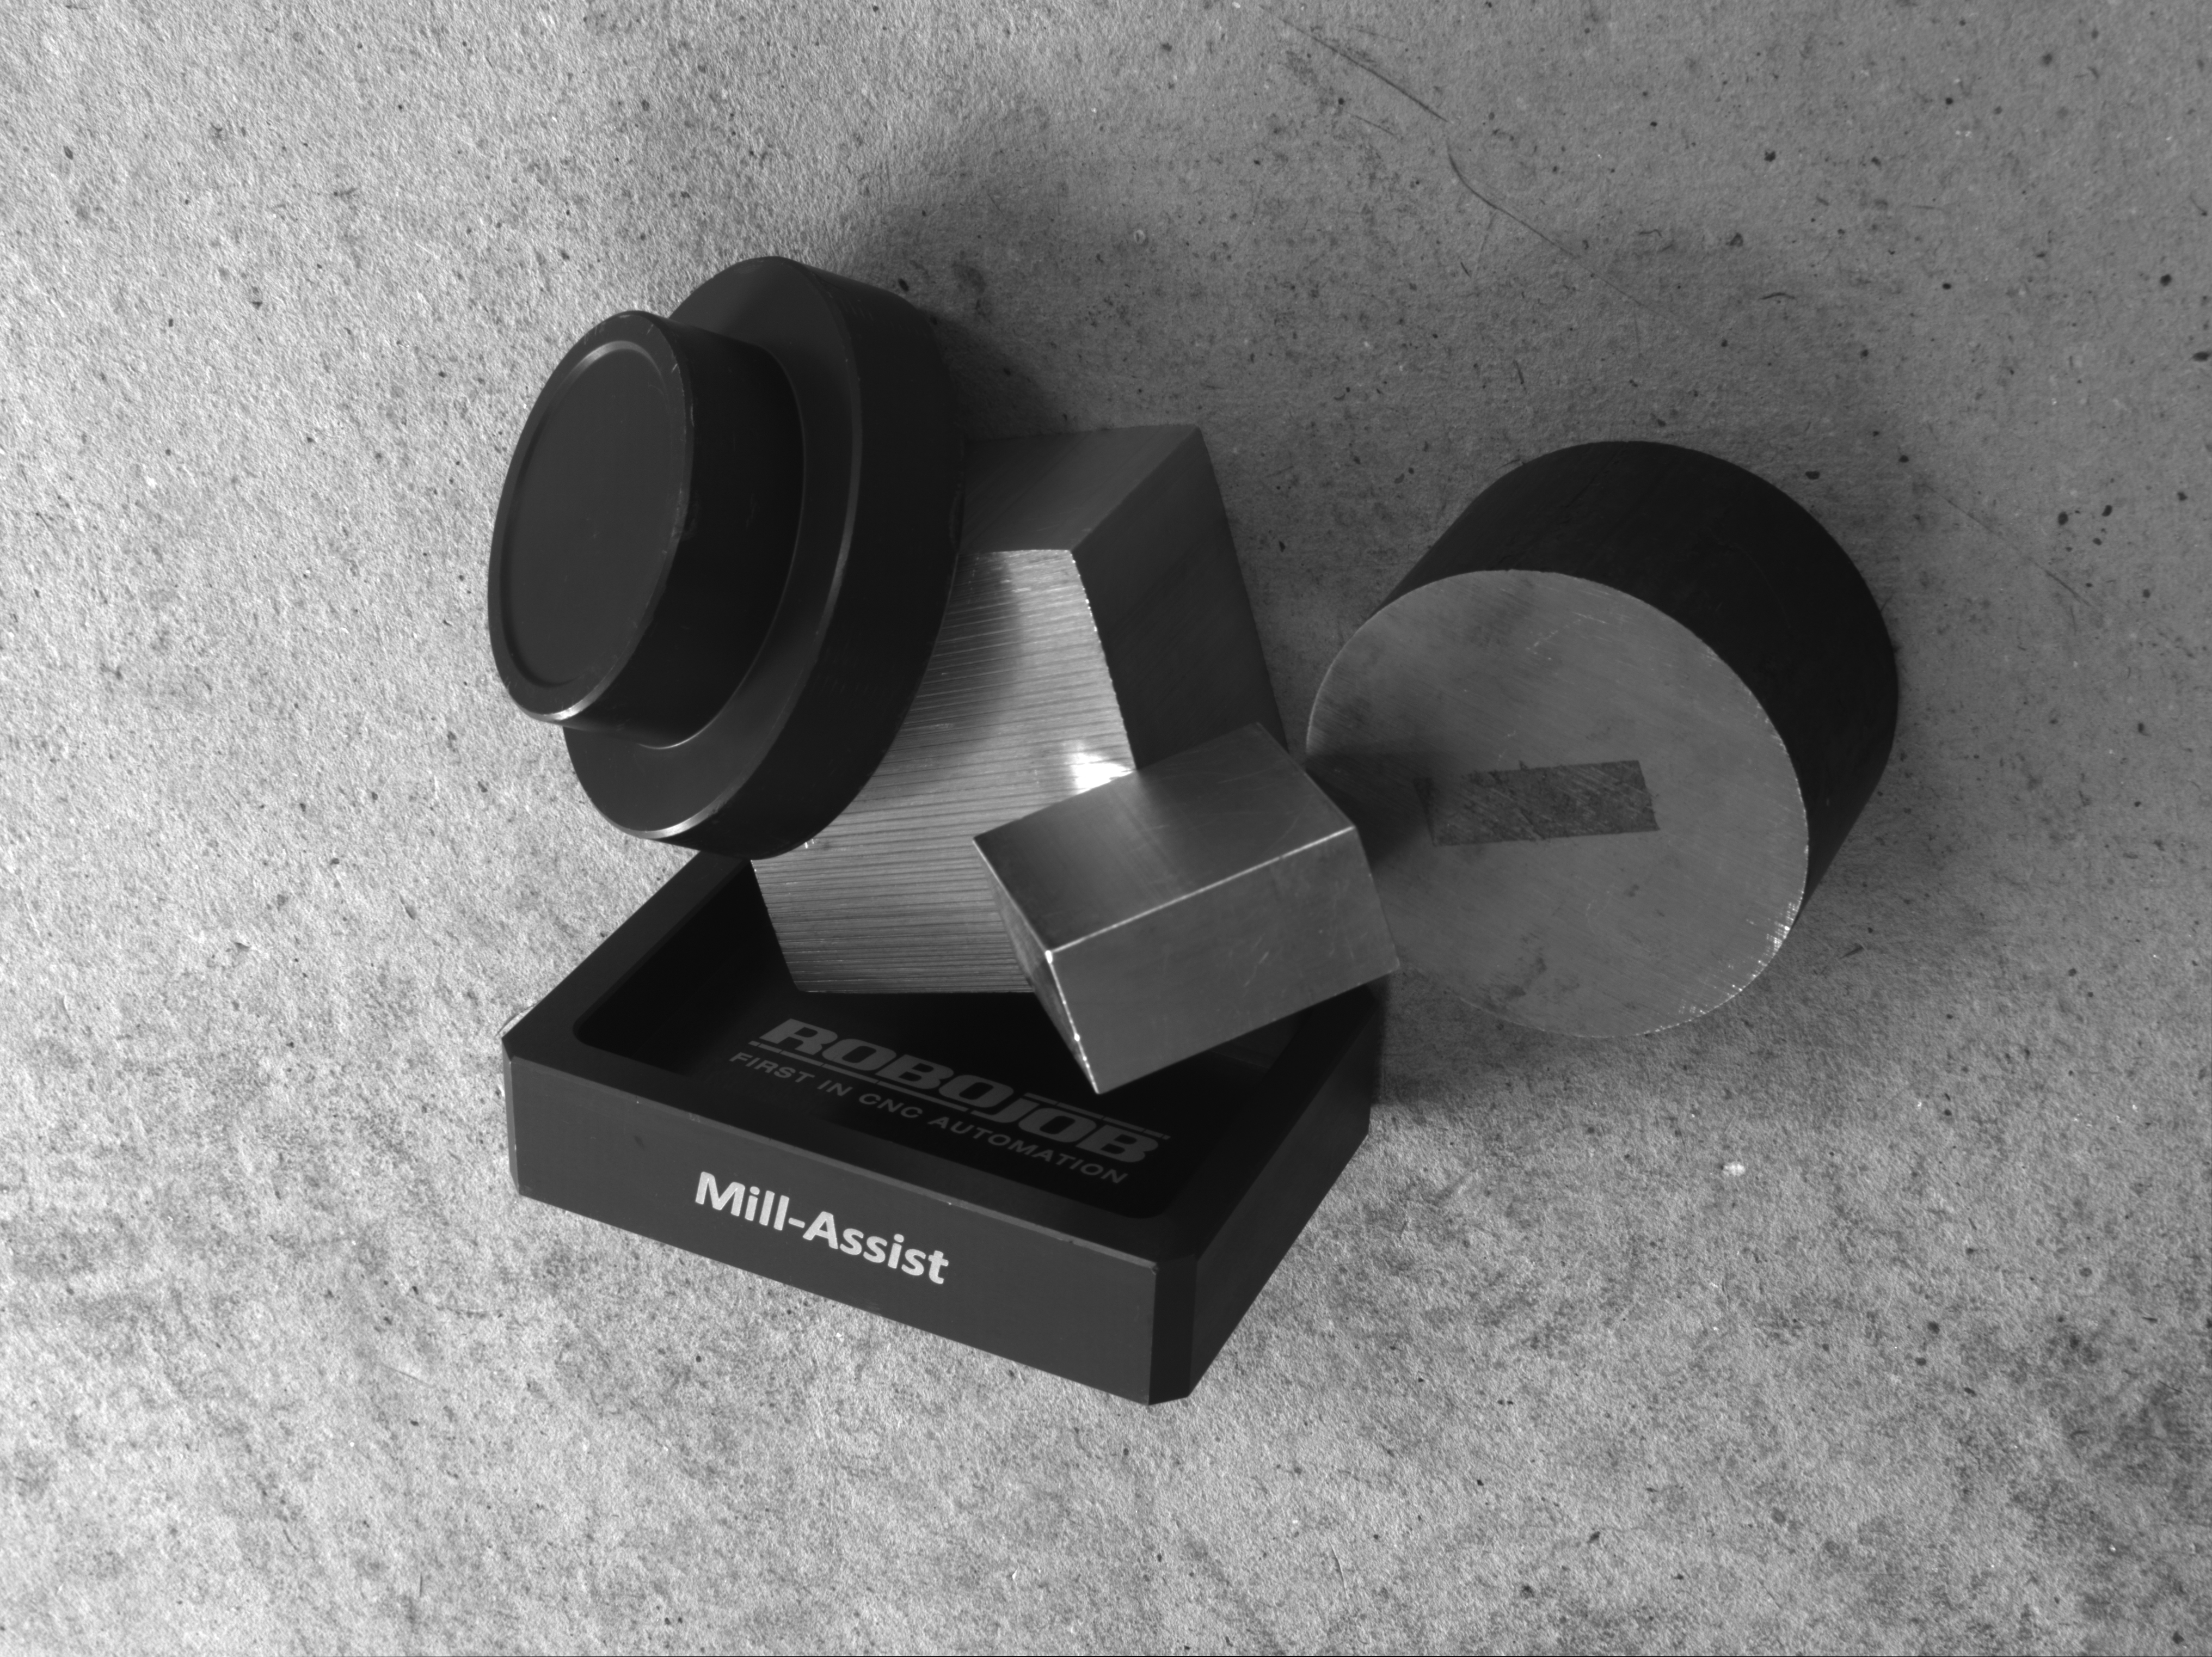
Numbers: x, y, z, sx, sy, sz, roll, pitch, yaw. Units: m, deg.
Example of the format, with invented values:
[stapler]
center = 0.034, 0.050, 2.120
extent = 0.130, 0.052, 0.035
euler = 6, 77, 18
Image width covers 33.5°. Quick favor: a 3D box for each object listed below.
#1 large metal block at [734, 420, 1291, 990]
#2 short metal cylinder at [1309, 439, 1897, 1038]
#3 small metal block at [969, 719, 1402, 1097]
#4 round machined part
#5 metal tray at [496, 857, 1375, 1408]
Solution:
[large metal block]
center = -0.019, -0.020, 0.626
extent = 0.080, 0.050, 0.080
euler = -2, 118, 29
[short metal cylinder]
center = 0.078, -0.014, 0.577
extent = 0.080, 0.050, 0.080
euler = 13, 124, 21
[small metal block]
center = 0.011, 0.011, 0.569
extent = 0.050, 0.050, 0.025
euler = -23, 114, -7
[round machined part]
center = -0.068, -0.046, 0.603
extent = 0.042, 0.098, 0.098
euler = 12, 140, -35
[metal tray]
center = -0.029, 0.046, 0.644
extent = 0.130, 0.090, 0.030
euler = 16, 125, 19
